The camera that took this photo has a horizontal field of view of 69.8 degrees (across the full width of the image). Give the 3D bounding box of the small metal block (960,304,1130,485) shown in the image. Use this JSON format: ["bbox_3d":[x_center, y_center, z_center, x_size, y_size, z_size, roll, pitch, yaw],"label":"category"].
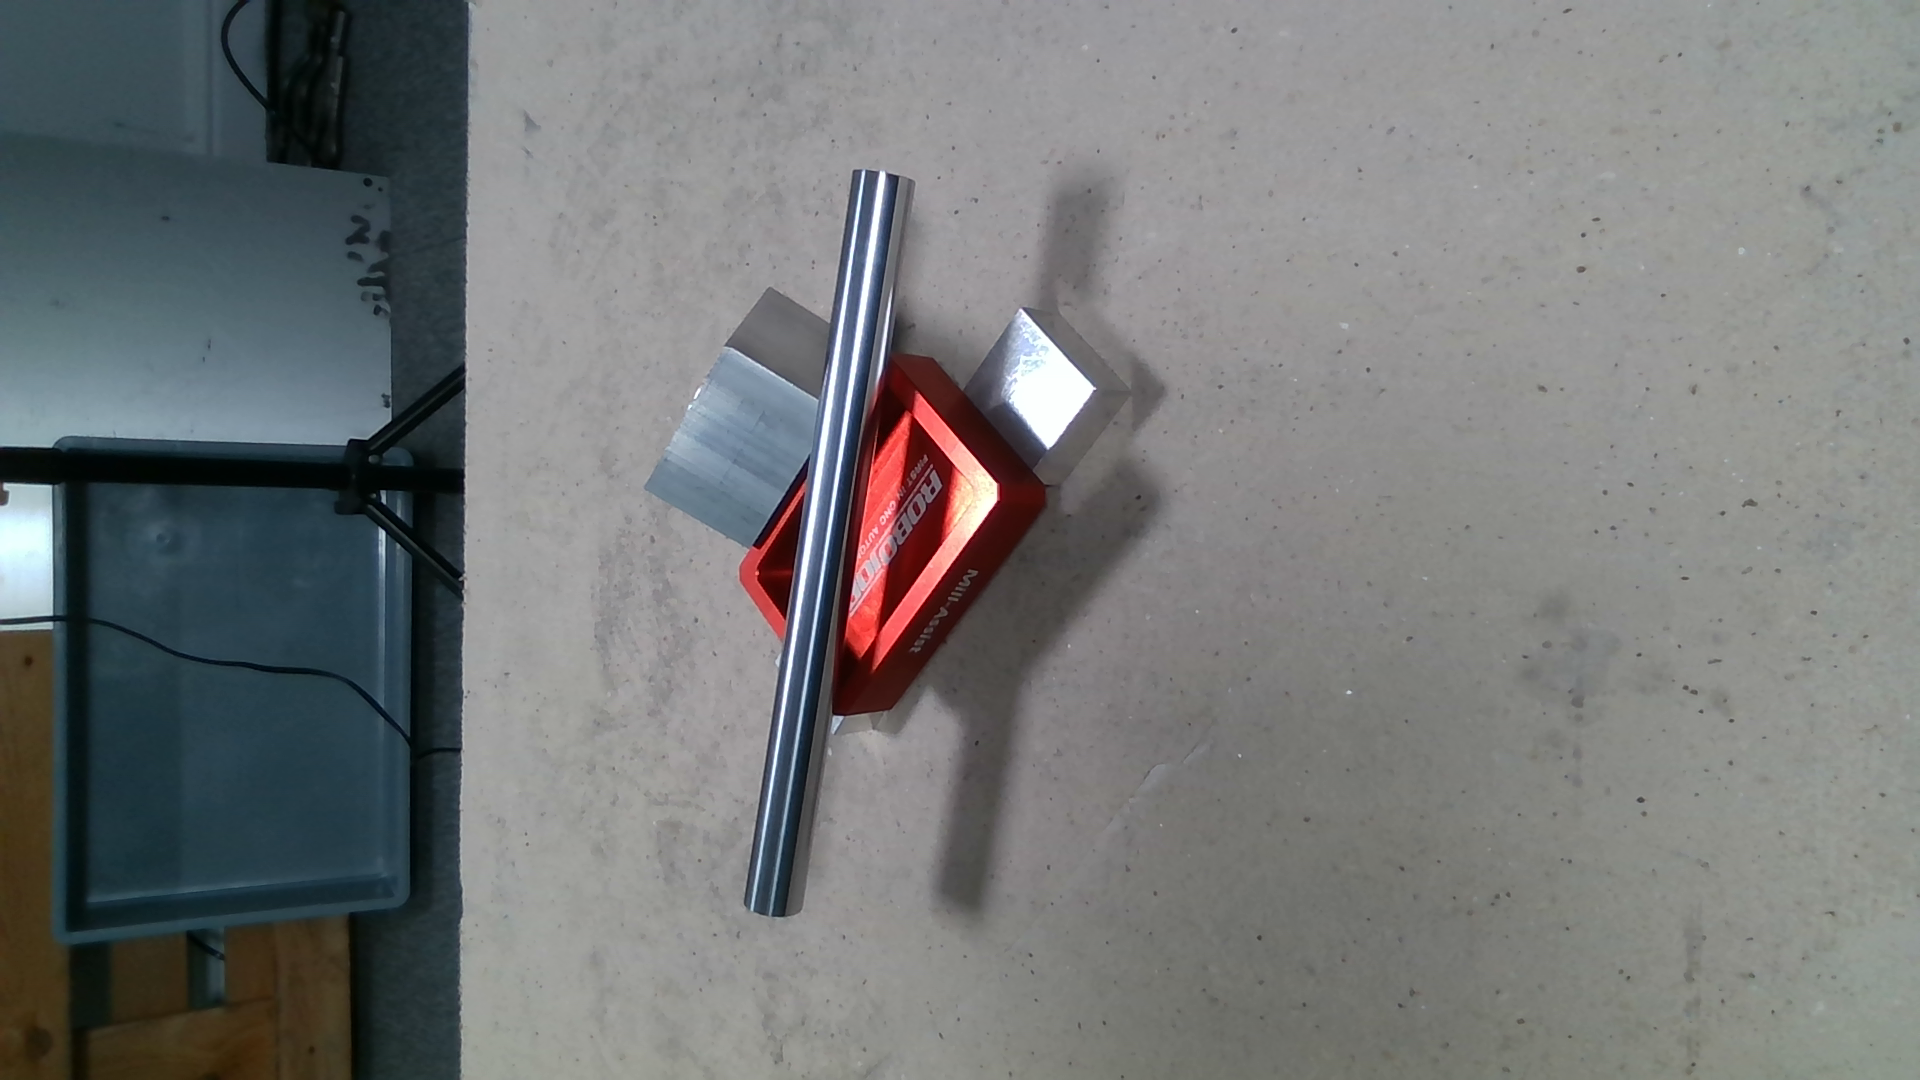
[{"bbox_3d":[0.032,-0.058,0.554,0.050,0.025,0.050,52,121,27],"label":"small metal block"}]

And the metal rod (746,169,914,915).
[{"bbox_3d":[-0.054,0.005,0.556,0.025,0.025,0.300,16,101,39],"label":"metal rod"}]

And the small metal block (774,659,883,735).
[{"bbox_3d":[-0.052,0.052,0.626,0.050,0.025,0.050,46,118,30],"label":"small metal block"}]

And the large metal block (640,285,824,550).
[{"bbox_3d":[-0.091,-0.056,0.611,0.050,0.080,0.080,31,117,-9],"label":"large metal block"}]

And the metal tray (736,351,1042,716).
[{"bbox_3d":[-0.034,-0.002,0.573,0.090,0.030,0.130,51,121,28],"label":"metal tray"}]
